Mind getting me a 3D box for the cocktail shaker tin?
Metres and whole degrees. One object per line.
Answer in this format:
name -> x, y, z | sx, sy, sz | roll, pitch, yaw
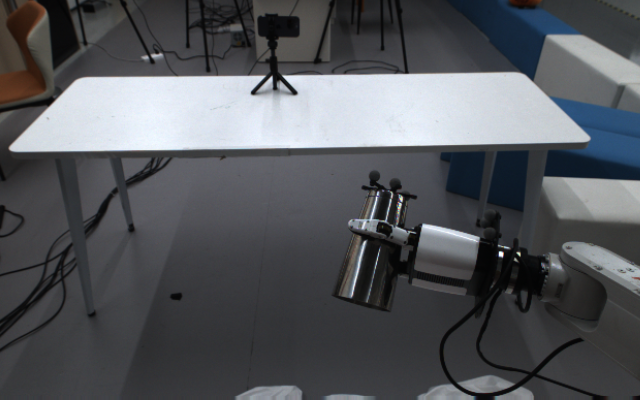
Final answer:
cocktail shaker tin -> 0.084, 0.074, 0.735 | 0.093, 0.093, 0.170 | 12, 75, 14
